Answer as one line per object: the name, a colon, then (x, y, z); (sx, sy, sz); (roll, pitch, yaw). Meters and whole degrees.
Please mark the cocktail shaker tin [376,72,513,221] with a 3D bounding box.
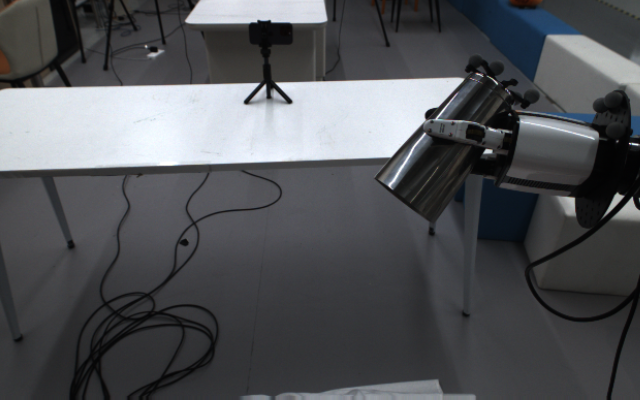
cocktail shaker tin: (0.156, -0.070, 0.587); (0.170, 0.093, 0.093); (-50, 46, 4)
